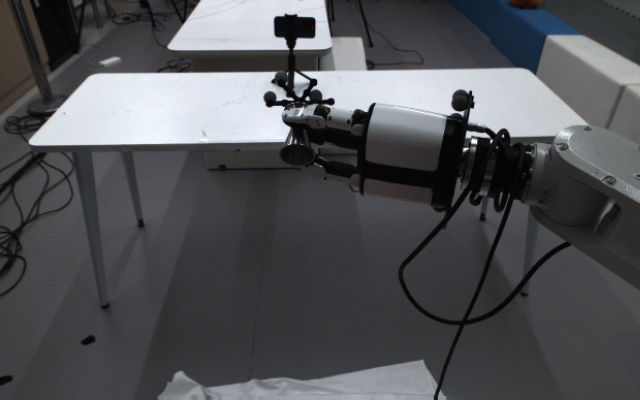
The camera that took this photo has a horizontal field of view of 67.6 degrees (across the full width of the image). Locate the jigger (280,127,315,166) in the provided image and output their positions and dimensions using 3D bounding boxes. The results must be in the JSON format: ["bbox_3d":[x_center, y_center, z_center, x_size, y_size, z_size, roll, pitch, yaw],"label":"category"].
[{"bbox_3d":[-0.027,-0.085,0.595,0.043,0.043,0.071,2,59,-1],"label":"jigger"}]
